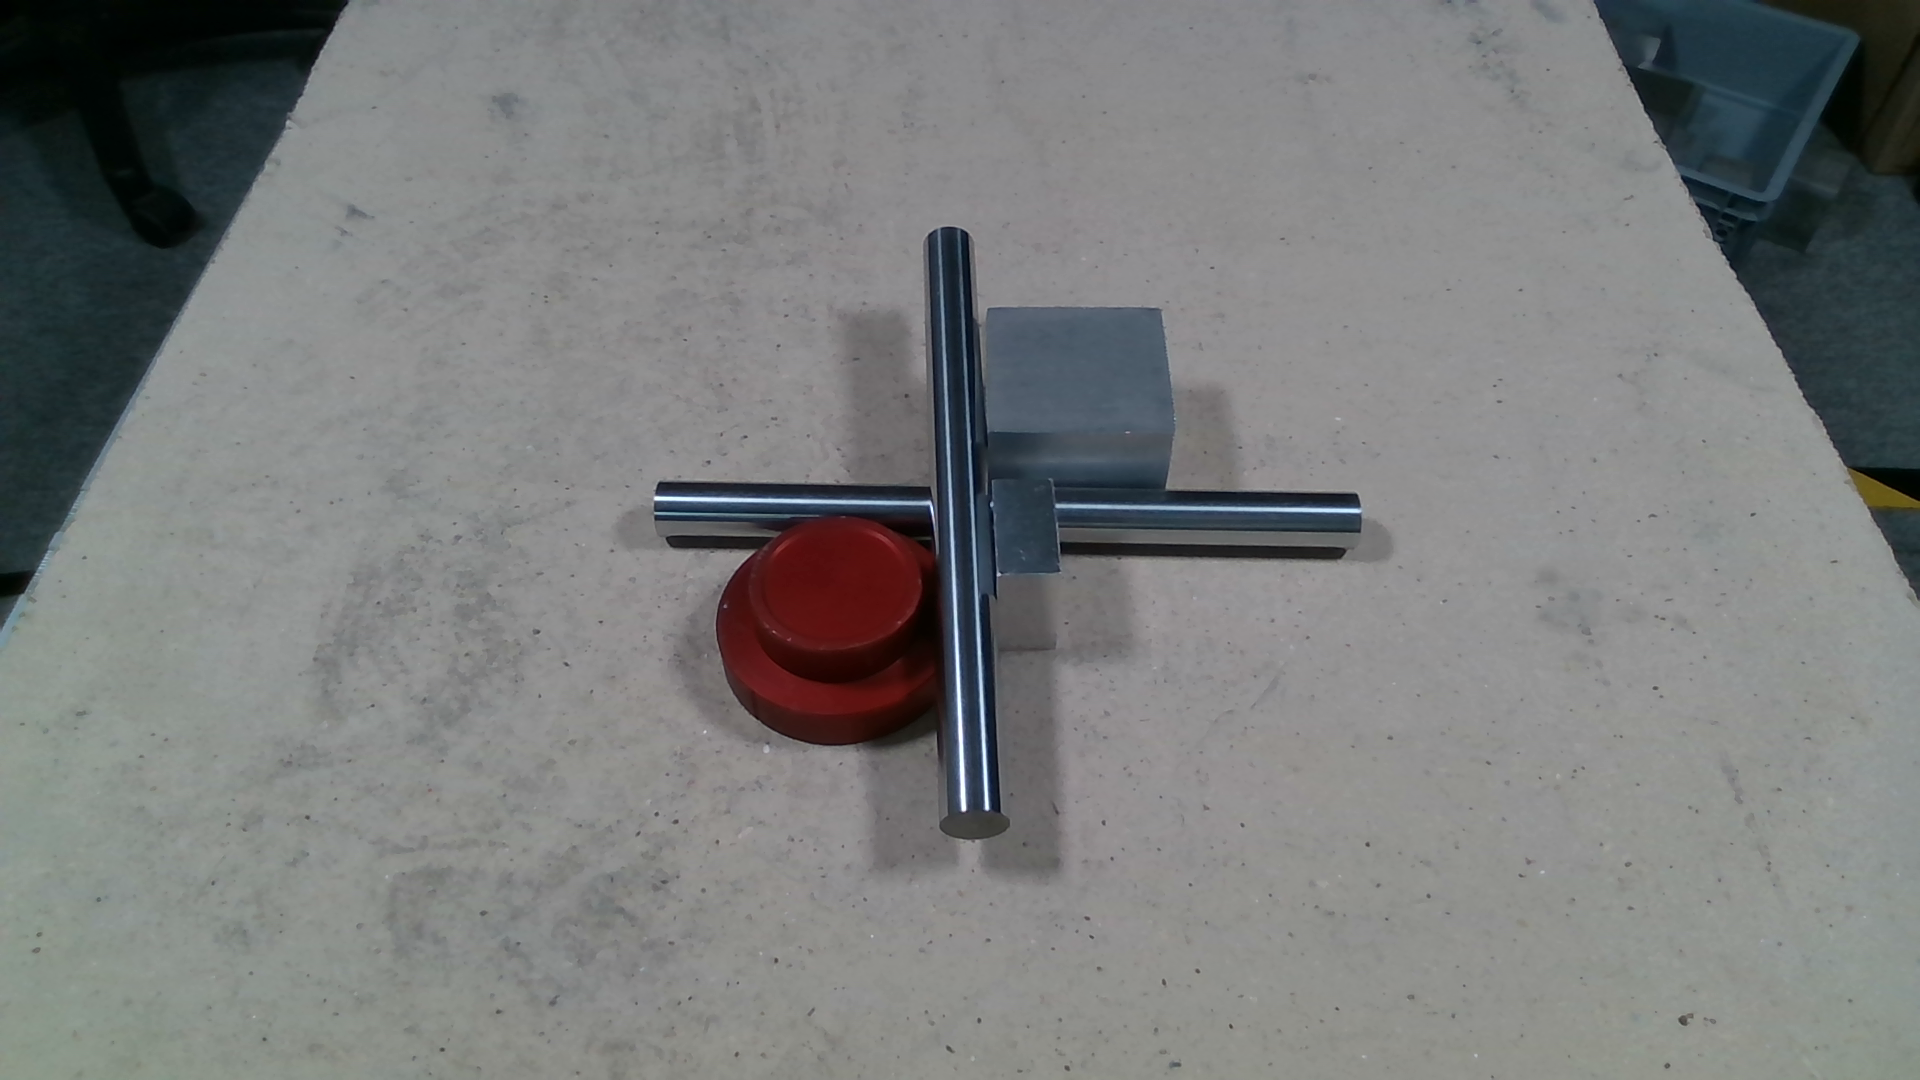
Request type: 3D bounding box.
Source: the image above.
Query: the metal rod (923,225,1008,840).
[{"bbox_3d":[-0.001,-0.021,0.572,0.025,0.025,0.299,-2,54,-1],"label":"metal rod"}]

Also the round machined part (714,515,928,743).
[{"bbox_3d":[-0.049,0.029,0.551,0.098,0.042,0.098,0,50,0],"label":"round machined part"}]

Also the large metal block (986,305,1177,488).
[{"bbox_3d":[0.051,-0.060,0.620,0.080,0.050,0.080,0,50,0],"label":"large metal block"}]

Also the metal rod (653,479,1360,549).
[{"bbox_3d":[0.019,-0.011,0.596,0.300,0.025,0.025,1,50,1],"label":"metal rod"}]

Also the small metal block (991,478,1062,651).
[{"bbox_3d":[0.026,0.010,0.563,0.025,0.050,0.050,-1,50,-1],"label":"small metal block"}]
